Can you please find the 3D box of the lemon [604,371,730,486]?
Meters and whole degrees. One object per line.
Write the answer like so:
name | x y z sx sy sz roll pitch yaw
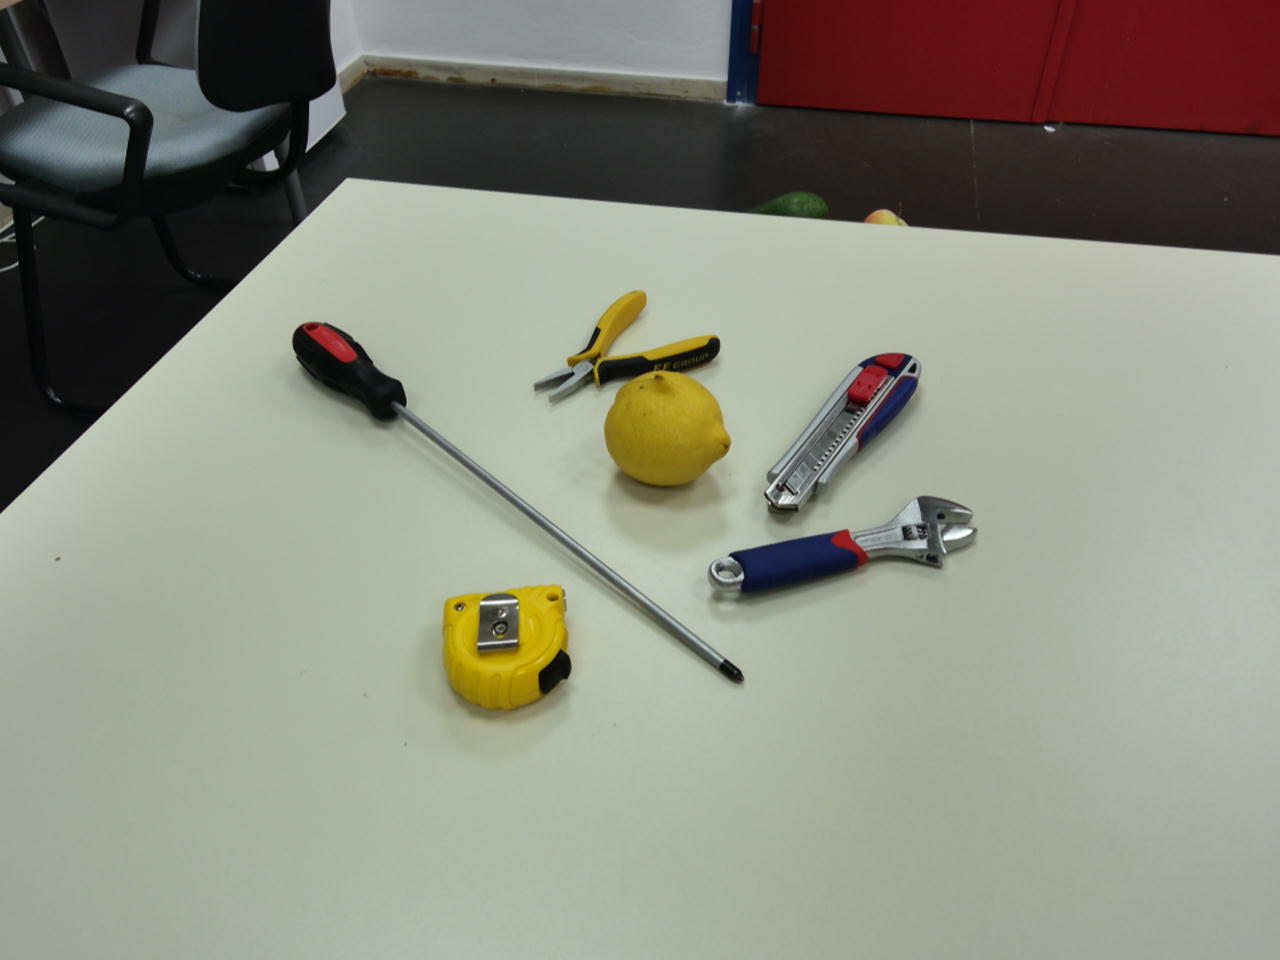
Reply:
lemon | 0.014 -0.033 0.596 0.070 0.071 0.071 -14 41 -16
